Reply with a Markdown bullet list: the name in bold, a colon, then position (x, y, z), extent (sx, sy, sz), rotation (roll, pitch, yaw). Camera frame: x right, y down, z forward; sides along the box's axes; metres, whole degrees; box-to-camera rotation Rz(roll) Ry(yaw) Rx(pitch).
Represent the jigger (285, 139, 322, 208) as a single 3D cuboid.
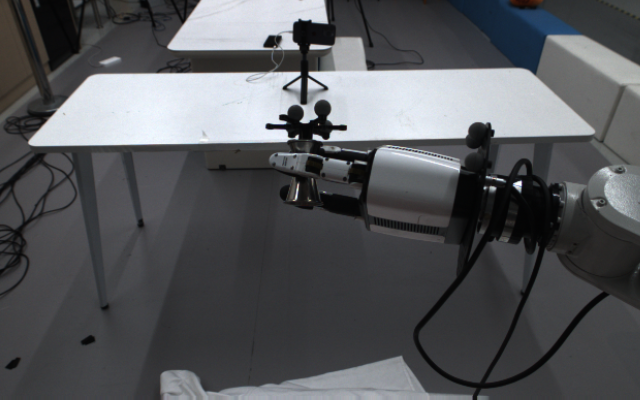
- **jigger**: position (-0.017, -0.029, 0.530), extent (0.043, 0.071, 0.043), rotation (2, -6, 0)
